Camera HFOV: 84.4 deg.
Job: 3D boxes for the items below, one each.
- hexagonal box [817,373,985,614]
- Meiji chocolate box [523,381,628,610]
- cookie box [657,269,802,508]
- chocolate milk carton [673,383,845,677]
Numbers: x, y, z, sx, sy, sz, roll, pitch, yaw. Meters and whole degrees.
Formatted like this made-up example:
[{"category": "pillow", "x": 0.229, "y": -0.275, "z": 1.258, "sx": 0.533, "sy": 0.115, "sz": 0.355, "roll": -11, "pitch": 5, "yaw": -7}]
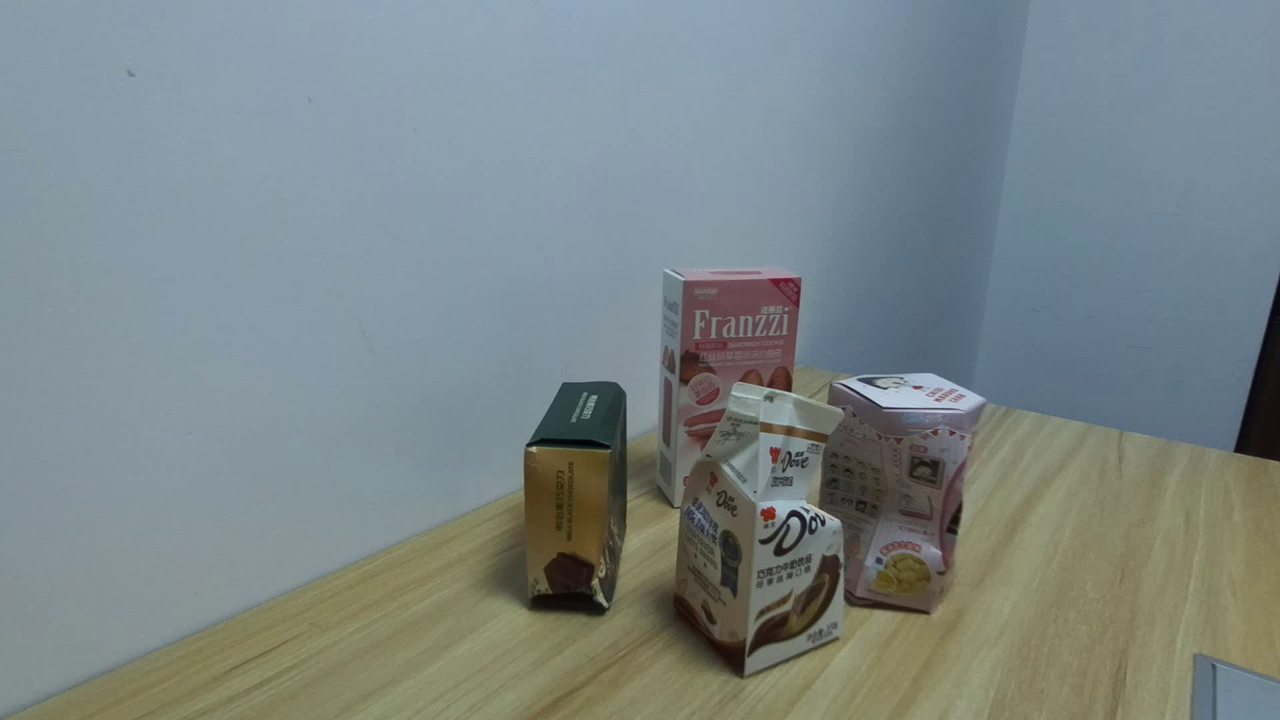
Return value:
[{"category": "hexagonal box", "x": 0.161, "y": 0.081, "z": 0.446, "sx": 0.093, "sy": 0.134, "sz": 0.088, "roll": 3, "pitch": 17, "yaw": 1}, {"category": "Meiji chocolate box", "x": -0.040, "y": 0.084, "z": 0.462, "sx": 0.058, "sy": 0.116, "sz": 0.122, "roll": 4, "pitch": 15, "yaw": 4}, {"category": "cookie box", "x": 0.070, "y": 0.021, "z": 0.559, "sx": 0.096, "sy": 0.184, "sz": 0.048, "roll": -4, "pitch": 19, "yaw": -14}, {"category": "chocolate milk carton", "x": 0.070, "y": 0.083, "z": 0.393, "sx": 0.076, "sy": 0.155, "sz": 0.073, "roll": -7, "pitch": 20, "yaw": -28}]
